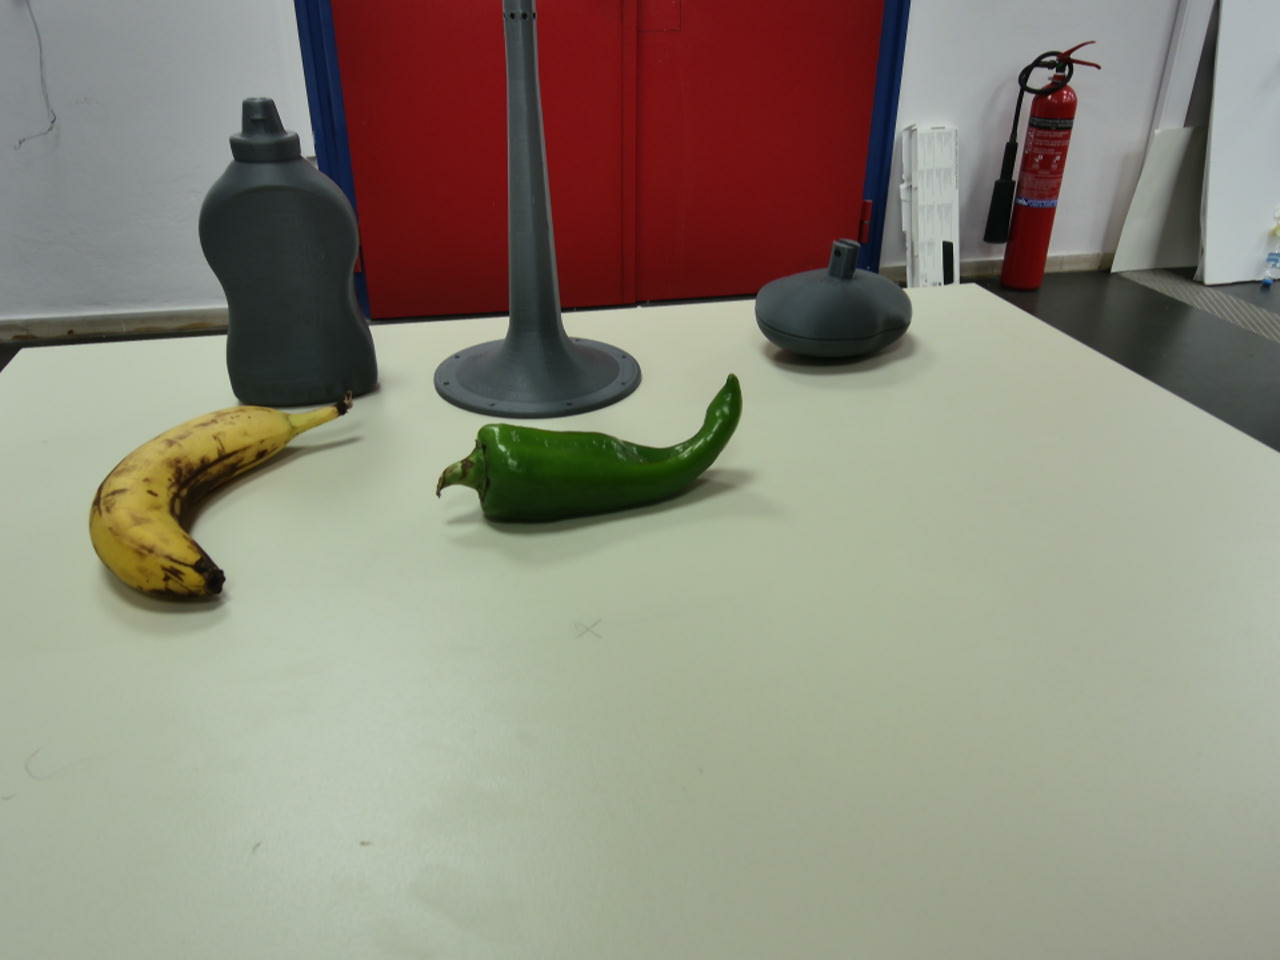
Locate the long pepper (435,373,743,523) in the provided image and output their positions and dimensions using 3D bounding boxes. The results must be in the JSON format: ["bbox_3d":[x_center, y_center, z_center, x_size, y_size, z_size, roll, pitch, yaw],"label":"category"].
[{"bbox_3d":[-0.024,-0.016,0.544,0.175,0.065,0.058,-7,27,-13],"label":"long pepper"}]
